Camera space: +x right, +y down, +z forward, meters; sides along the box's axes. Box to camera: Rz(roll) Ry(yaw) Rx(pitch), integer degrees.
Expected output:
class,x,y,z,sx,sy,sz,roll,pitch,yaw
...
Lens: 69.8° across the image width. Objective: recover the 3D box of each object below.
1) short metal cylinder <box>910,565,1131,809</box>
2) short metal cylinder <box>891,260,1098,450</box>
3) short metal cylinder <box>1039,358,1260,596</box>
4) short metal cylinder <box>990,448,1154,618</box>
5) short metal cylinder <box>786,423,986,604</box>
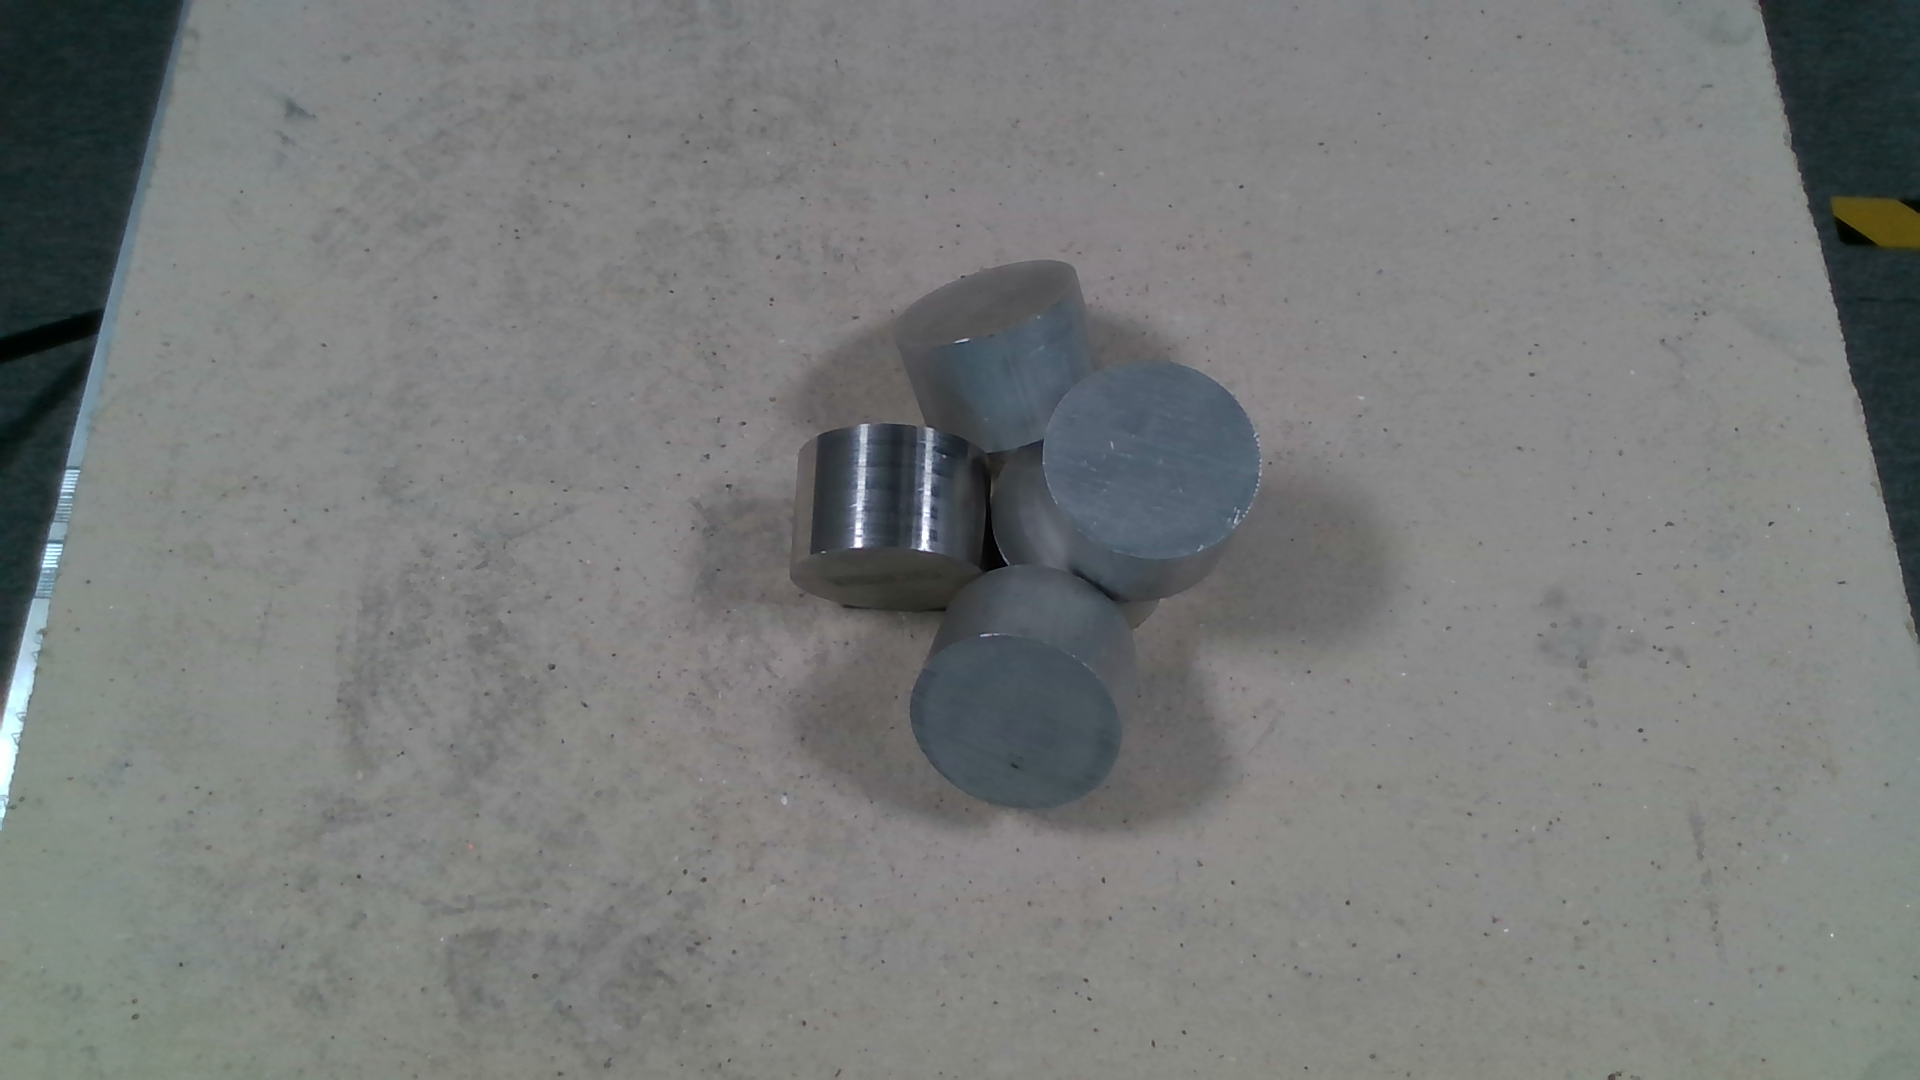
class,x,y,z,sx,sy,sz,roll,pitch,yaw
short metal cylinder,0.025,0.057,0.533,0.080,0.080,0.050,14,32,5
short metal cylinder,0.017,-0.079,0.582,0.080,0.050,0.080,-15,28,8
short metal cylinder,0.070,-0.023,0.529,0.080,0.050,0.080,0,70,0
short metal cylinder,0.052,-0.003,0.576,0.080,0.050,0.080,0,70,0
short metal cylinder,-0.029,-0.008,0.561,0.080,0.080,0.050,1,70,1
